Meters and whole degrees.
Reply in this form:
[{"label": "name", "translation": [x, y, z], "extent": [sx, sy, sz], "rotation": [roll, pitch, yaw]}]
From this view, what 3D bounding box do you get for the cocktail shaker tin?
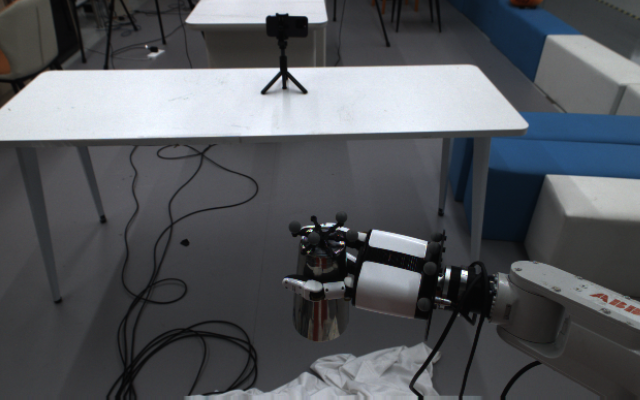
[{"label": "cocktail shaker tin", "translation": [0.006, 0.120, 0.731], "extent": [0.093, 0.170, 0.093], "rotation": [1, 39, 0]}]
